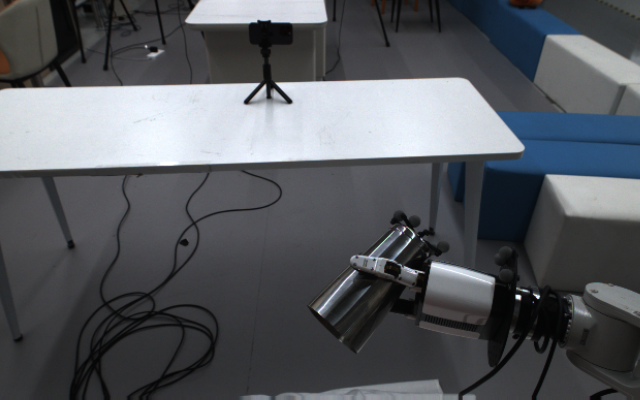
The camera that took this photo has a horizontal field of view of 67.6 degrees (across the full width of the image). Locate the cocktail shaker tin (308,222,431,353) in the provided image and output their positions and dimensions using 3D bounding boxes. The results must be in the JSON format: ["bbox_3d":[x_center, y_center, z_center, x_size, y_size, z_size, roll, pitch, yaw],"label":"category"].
[{"bbox_3d":[0.073,0.110,0.667,0.170,0.093,0.093,-43,50,-14],"label":"cocktail shaker tin"}]
